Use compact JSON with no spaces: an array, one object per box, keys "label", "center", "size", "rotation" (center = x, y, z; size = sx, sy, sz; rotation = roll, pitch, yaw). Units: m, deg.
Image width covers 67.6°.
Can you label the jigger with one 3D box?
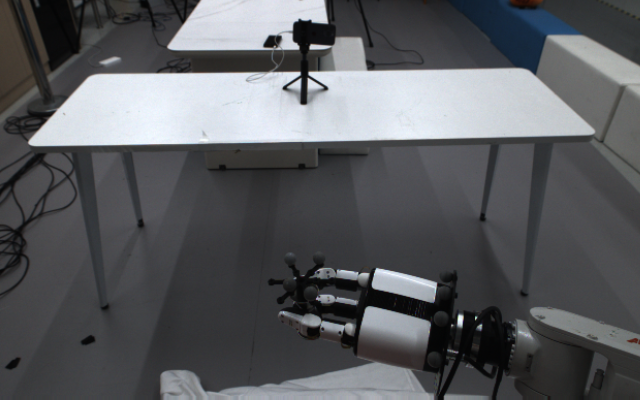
[{"label":"jigger","center":[-0.013,0.145,0.655],"size":[0.043,0.071,0.043],"rotation":[-9,31,5]}]
